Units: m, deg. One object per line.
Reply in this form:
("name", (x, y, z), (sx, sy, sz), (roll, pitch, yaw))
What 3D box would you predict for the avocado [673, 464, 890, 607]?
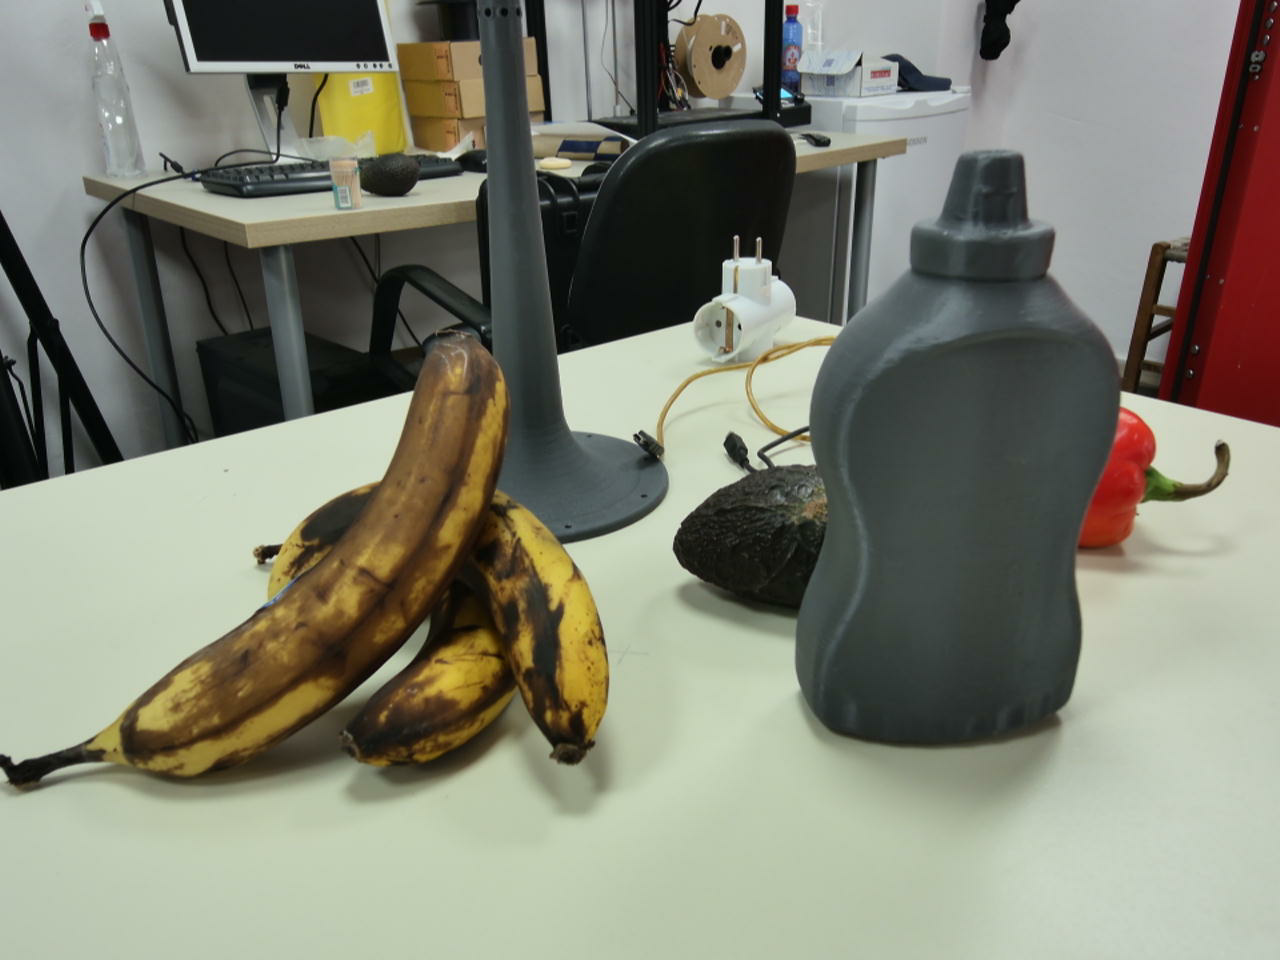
("avocado", (0.062, 0.023, 0.437), (0.092, 0.062, 0.062), (11, 24, 25))
